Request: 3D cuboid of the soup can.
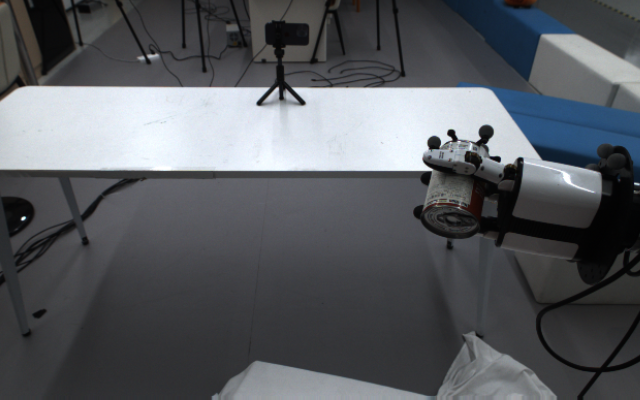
[{"bbox_3d":[0.165,-0.016,0.585,0.067,0.067,0.101,12,59,14],"label":"soup can"}]
